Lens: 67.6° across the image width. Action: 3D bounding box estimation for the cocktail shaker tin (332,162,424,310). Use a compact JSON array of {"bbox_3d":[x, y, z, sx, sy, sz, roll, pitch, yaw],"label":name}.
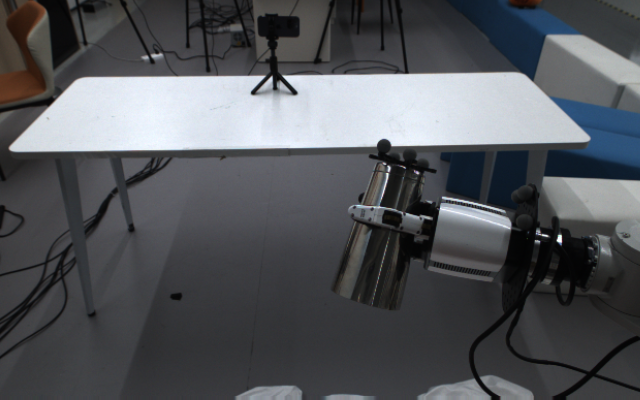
[{"bbox_3d":[0.082,0.043,0.615,0.093,0.170,0.093,16,-2,1],"label":"cocktail shaker tin"}]
